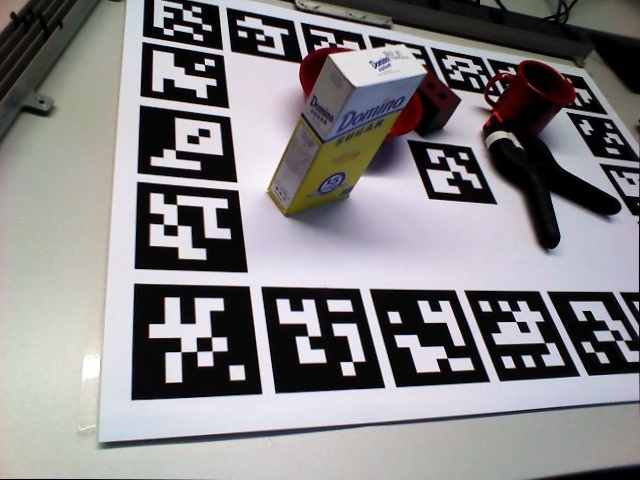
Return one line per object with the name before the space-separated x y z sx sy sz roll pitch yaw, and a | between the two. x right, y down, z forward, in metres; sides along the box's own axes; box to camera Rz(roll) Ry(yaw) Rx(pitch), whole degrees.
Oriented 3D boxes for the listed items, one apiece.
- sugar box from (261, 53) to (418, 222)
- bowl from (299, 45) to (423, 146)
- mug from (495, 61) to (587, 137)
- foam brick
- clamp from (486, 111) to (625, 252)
sugar box | 0.012 -0.093 0.501 0.092 0.178 0.045 -21 69 -33
bowl | 0.044 -0.168 0.641 0.161 0.055 0.160 11 54 -15
mug | 0.310 -0.206 0.752 0.117 0.082 0.092 26 52 -7
foam brick | 0.147 -0.181 0.700 0.052 0.052 0.078 -25 70 -32
clamp | 0.292 -0.091 0.689 0.164 0.037 0.202 -21 67 -29
